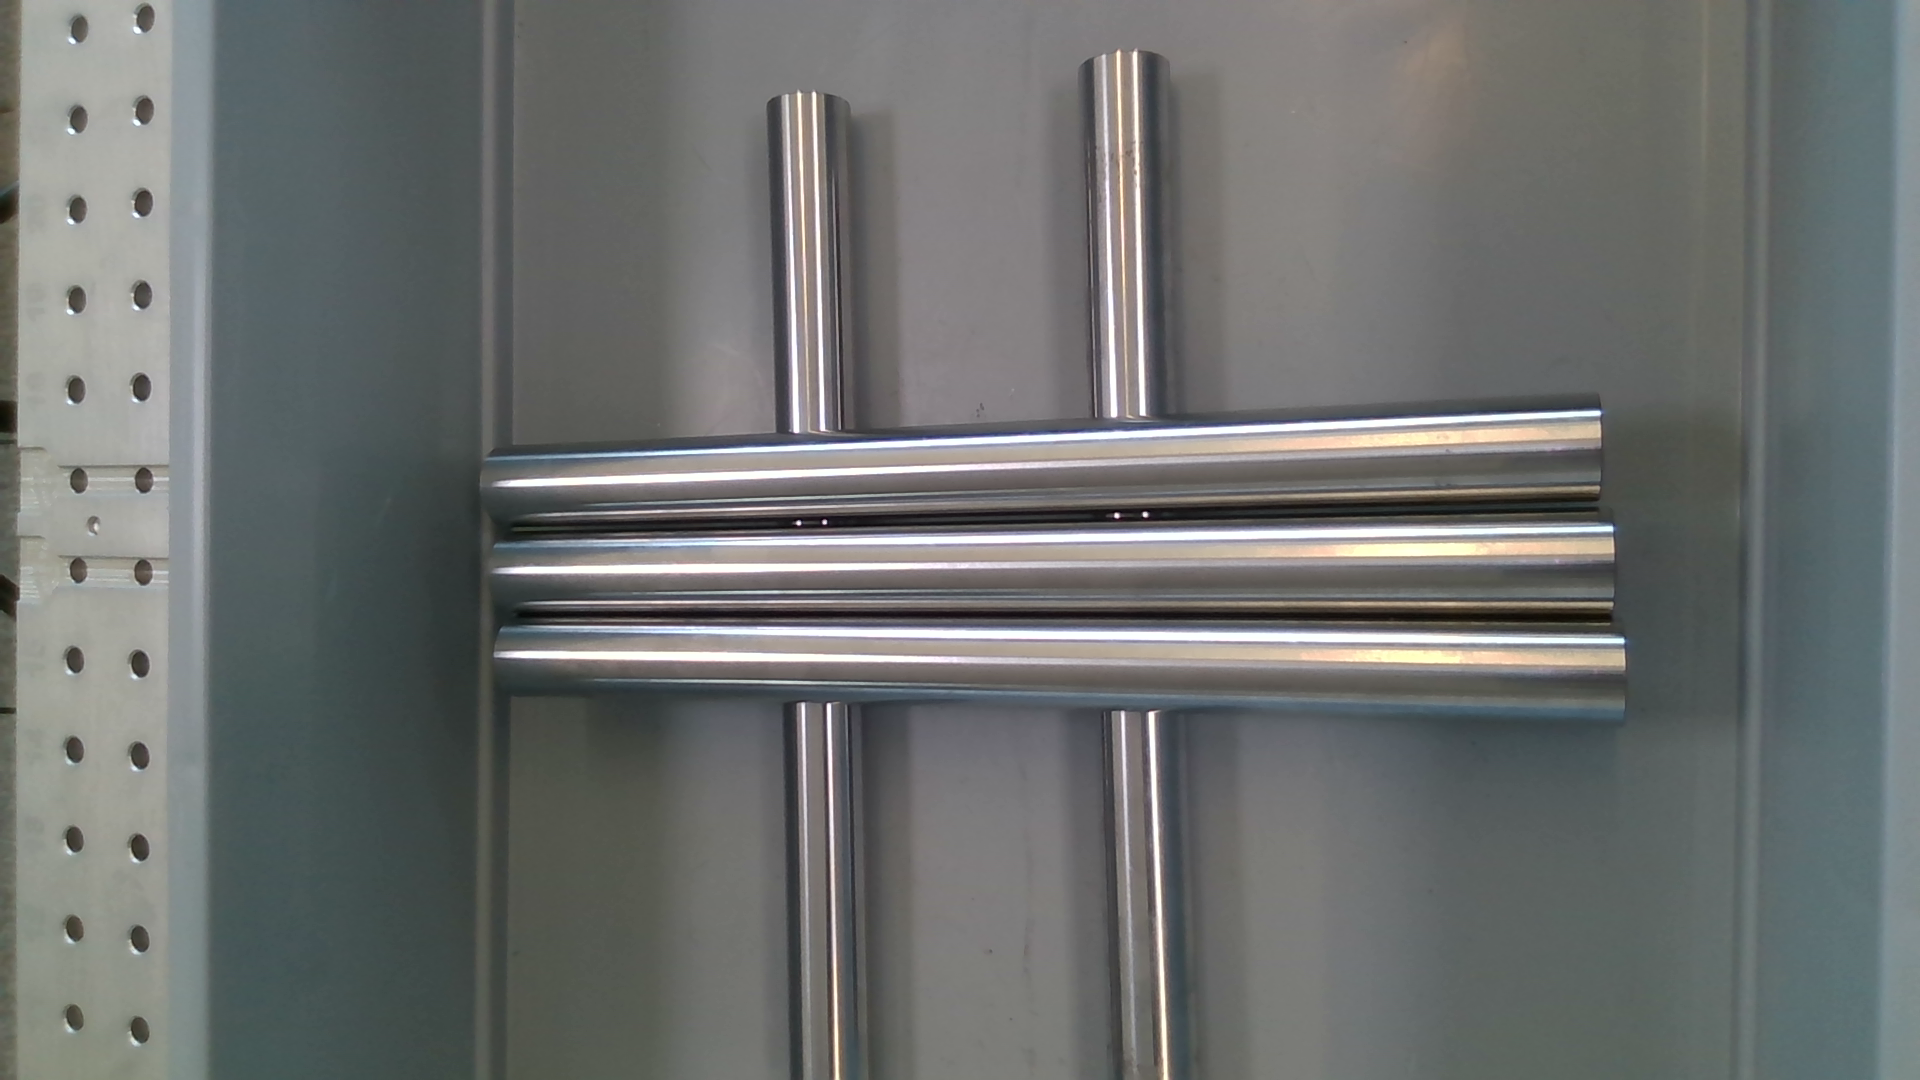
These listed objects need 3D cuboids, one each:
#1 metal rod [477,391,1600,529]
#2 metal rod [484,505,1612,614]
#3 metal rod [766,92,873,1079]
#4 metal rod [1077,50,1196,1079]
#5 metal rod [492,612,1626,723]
[{"bbox_3d":[0.003,-0.018,0.364,0.300,0.025,0.025,-1,90,20],"label":"metal rod"},{"bbox_3d":[0.006,0.007,0.363,0.300,0.025,0.025,-1,90,20],"label":"metal rod"},{"bbox_3d":[-0.042,0.021,0.409,0.025,0.025,0.300,-1,90,20],"label":"metal rod"},{"bbox_3d":[0.049,0.021,0.376,0.025,0.025,0.300,-2,90,20],"label":"metal rod"},{"bbox_3d":[0.008,0.032,0.363,0.300,0.025,0.025,-1,90,20],"label":"metal rod"}]
